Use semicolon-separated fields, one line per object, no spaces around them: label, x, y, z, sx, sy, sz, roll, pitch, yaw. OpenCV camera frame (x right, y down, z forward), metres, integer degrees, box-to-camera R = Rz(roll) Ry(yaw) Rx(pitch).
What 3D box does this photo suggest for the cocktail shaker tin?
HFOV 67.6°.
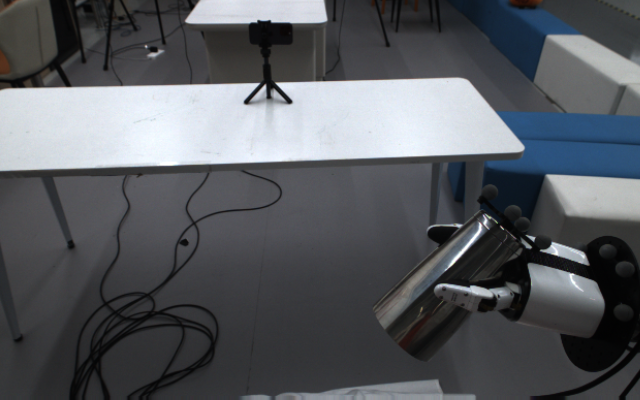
cocktail shaker tin;0.154;0.090;0.566;0.093;0.170;0.093;41;12;-11
